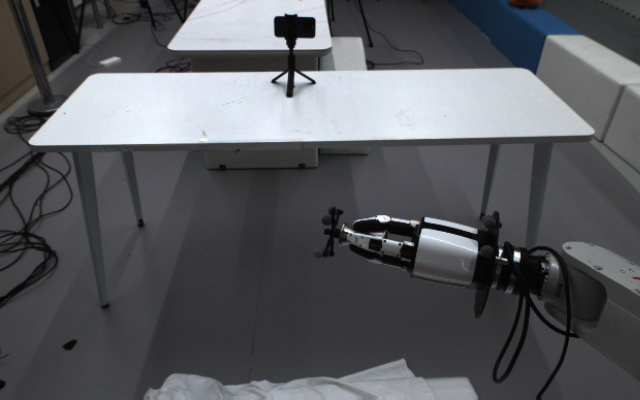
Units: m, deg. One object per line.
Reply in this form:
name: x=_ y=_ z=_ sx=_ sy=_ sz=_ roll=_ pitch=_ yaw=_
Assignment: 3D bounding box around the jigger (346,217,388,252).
jigger: x=0.074 y=0.057 z=0.754 sx=0.071 sy=0.043 sz=0.043 roll=10 pitch=35 yaw=16
